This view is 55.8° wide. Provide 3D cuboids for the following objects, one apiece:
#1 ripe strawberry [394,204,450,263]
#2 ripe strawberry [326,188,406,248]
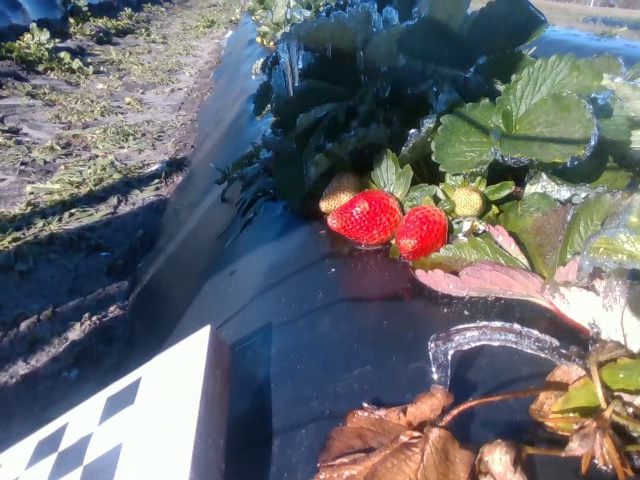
[{"bbox_3d":[0.058,-0.004,0.347,0.036,0.030,0.041,-20,24,34],"label":"ripe strawberry"},{"bbox_3d":[0.023,-0.012,0.365,0.052,0.040,0.036,-7,5,-37],"label":"ripe strawberry"}]
